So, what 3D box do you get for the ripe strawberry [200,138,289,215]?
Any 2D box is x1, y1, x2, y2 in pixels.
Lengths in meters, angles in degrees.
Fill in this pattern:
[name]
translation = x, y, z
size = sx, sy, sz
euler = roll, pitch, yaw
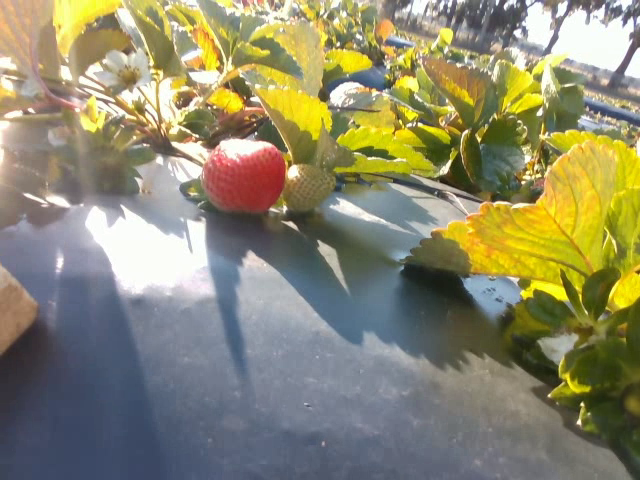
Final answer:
[ripe strawberry]
translation = -0.024, -0.022, 0.222
size = 0.042, 0.037, 0.045
euler = 27, -35, -12
